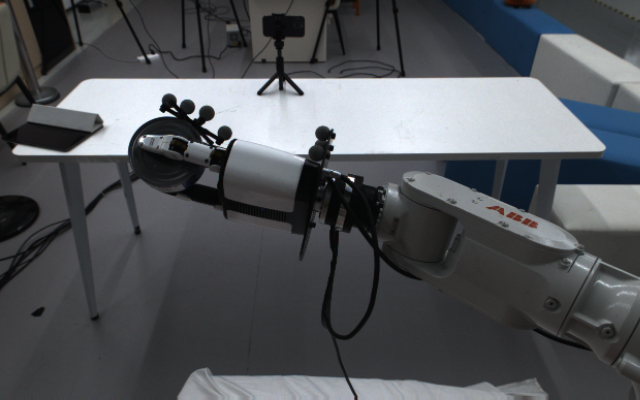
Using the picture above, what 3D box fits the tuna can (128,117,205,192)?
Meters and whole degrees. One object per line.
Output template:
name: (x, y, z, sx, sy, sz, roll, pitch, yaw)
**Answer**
tuna can: (-0.179, -0.052, 0.576, 0.085, 0.034, 0.085, 1, 75, -4)
